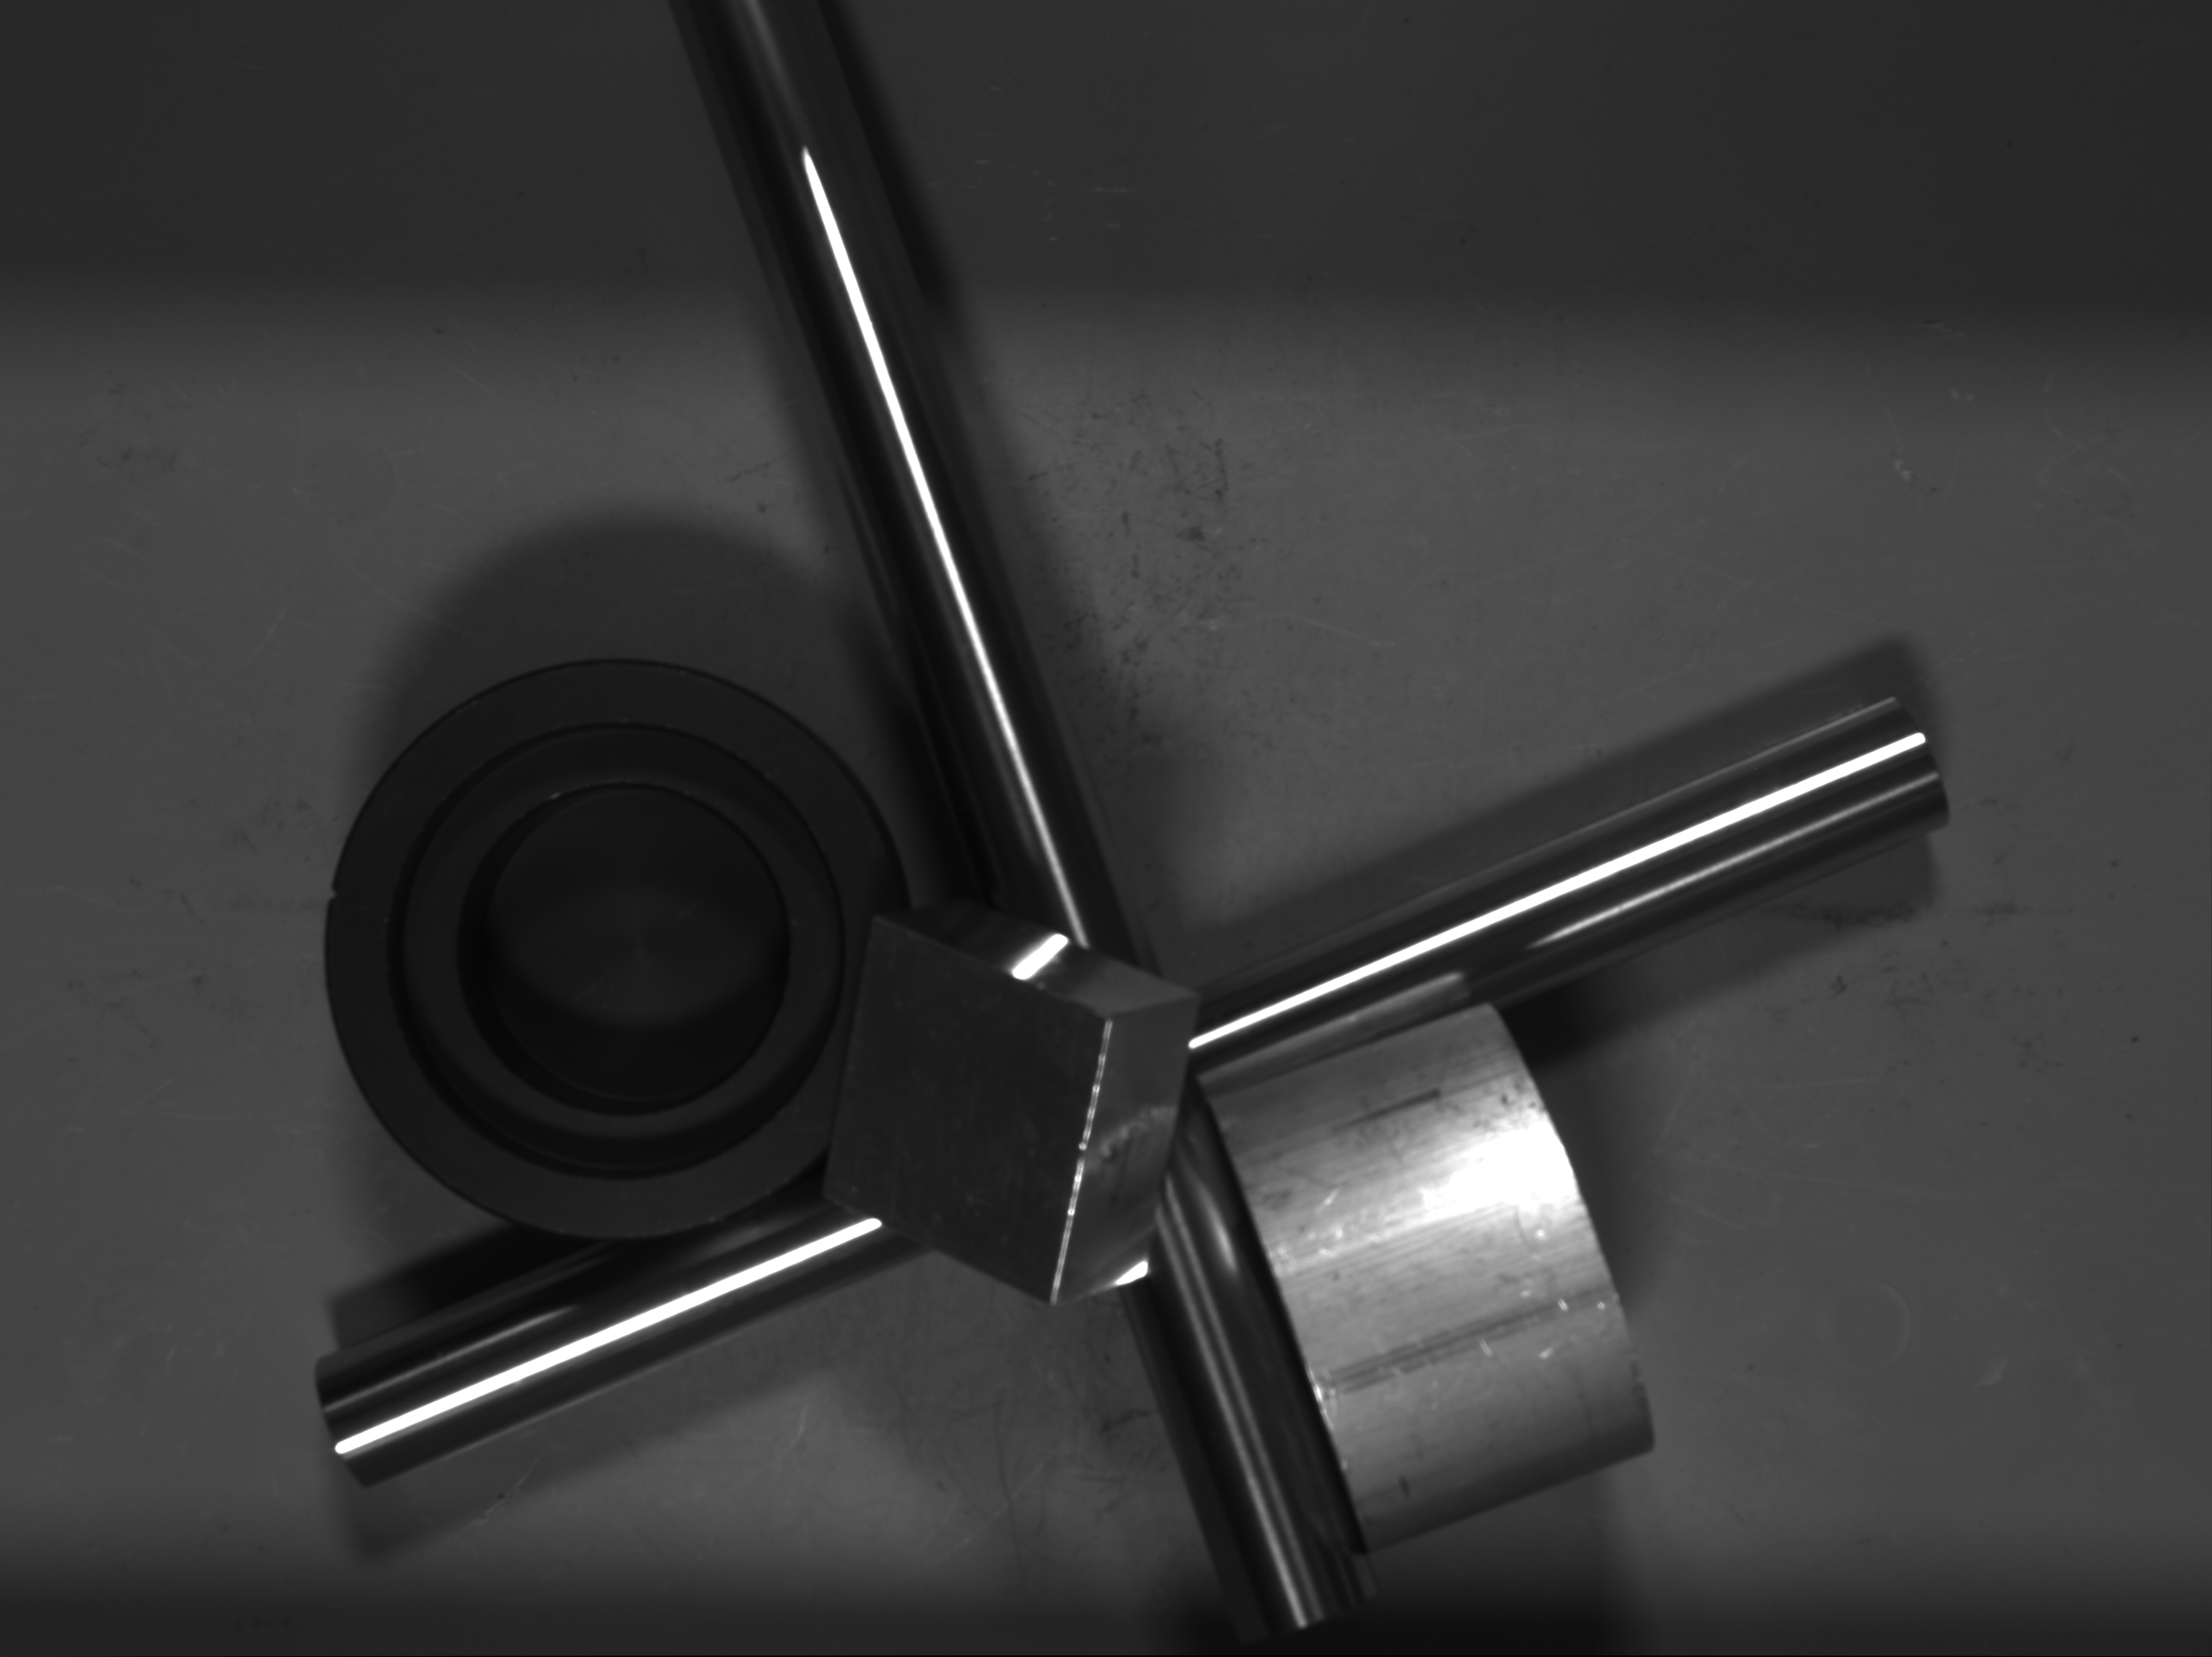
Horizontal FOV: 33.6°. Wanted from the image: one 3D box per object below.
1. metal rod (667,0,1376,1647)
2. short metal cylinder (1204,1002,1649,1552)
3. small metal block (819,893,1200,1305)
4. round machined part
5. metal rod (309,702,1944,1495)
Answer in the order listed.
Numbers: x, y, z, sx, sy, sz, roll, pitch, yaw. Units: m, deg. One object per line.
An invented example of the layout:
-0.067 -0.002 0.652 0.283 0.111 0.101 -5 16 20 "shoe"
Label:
-0.016 -0.009 0.626 0.025 0.025 0.300 -19 83 0 "metal rod"
0.053 0.075 0.617 0.050 0.080 0.080 -20 90 0 "short metal cylinder"
-0.016 0.044 0.603 0.050 0.025 0.050 21 108 32 "small metal block"
-0.084 0.020 0.635 0.098 0.042 0.098 0 90 0 "round machined part"
0.004 0.047 0.644 0.300 0.025 0.025 -23 90 -1 "metal rod"
